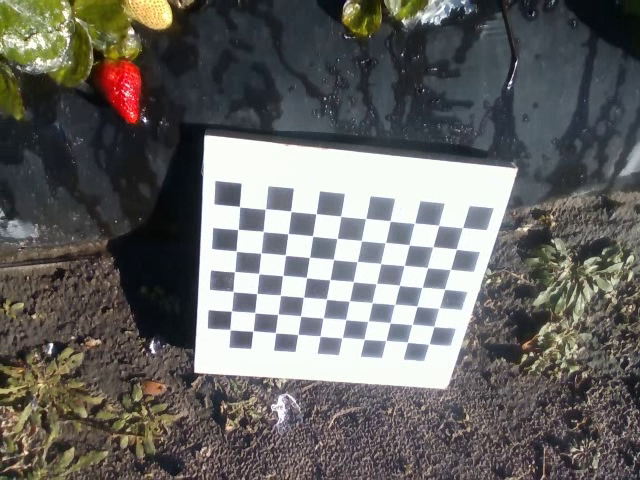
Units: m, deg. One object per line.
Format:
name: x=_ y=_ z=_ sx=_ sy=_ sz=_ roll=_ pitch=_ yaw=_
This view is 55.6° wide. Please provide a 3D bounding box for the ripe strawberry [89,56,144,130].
ripe strawberry: x=-0.164 y=-0.118 z=0.496 sx=0.042 sy=0.052 sz=0.040 roll=-11 pitch=22 yaw=0
